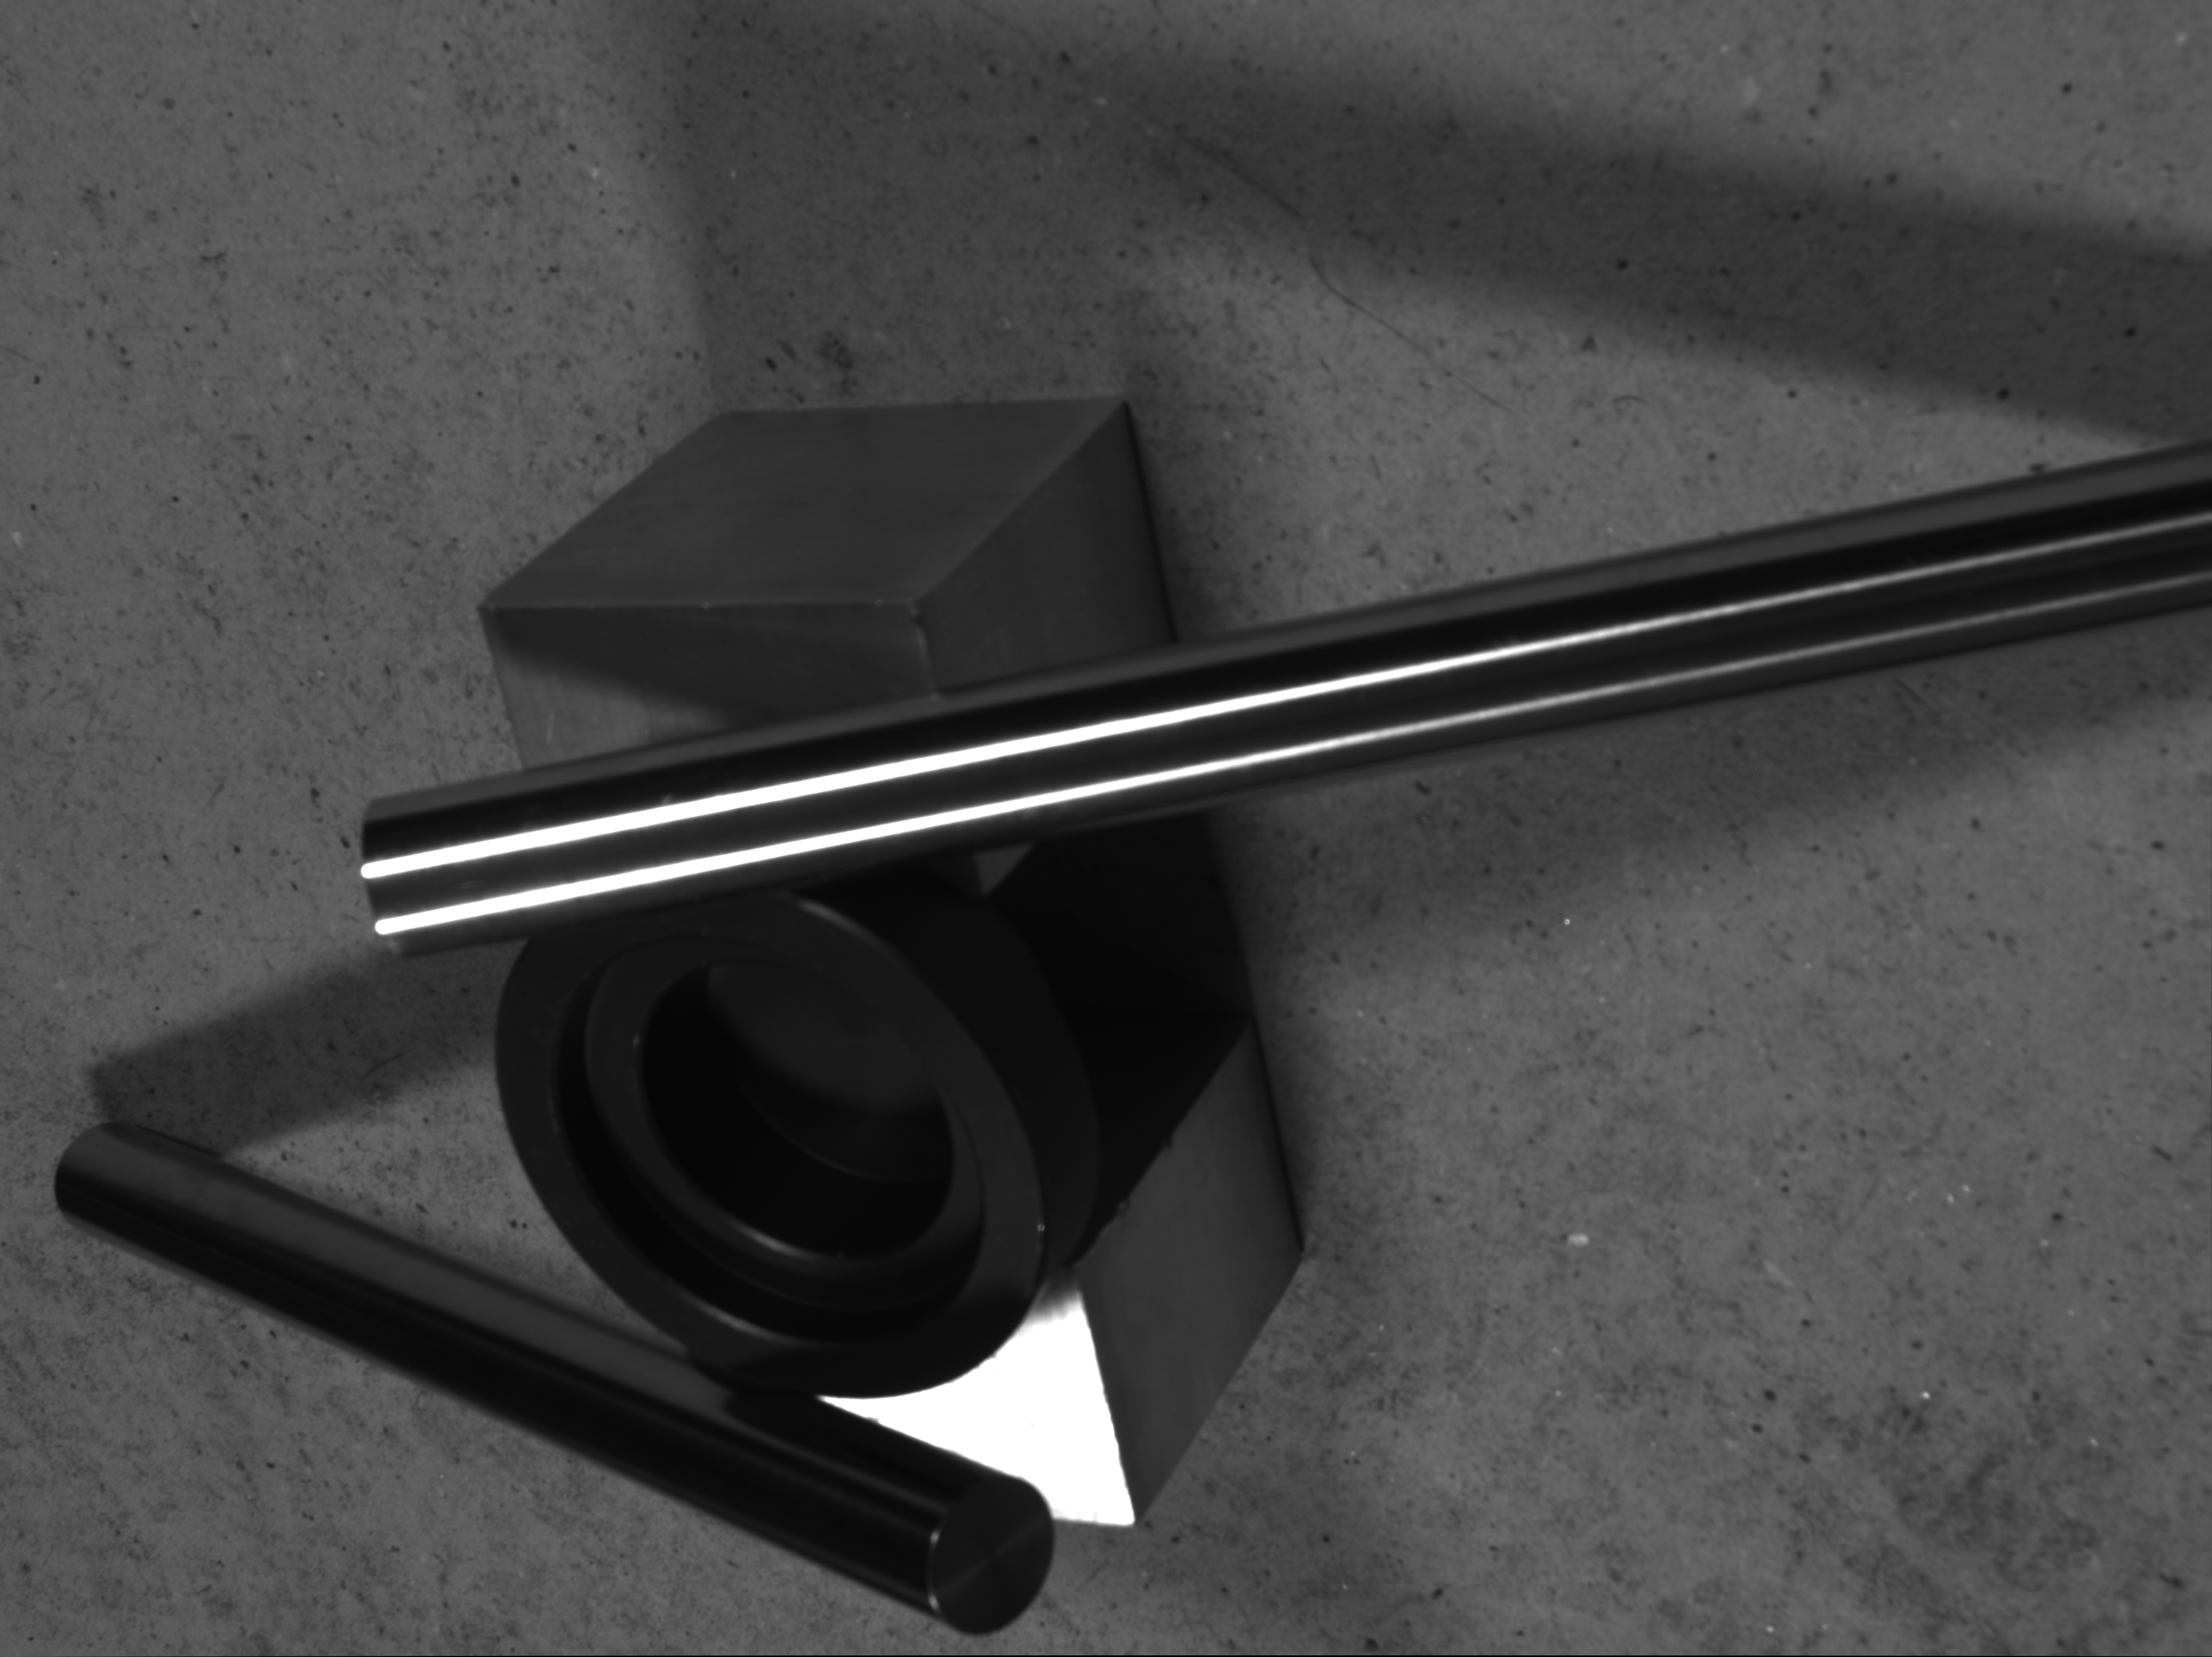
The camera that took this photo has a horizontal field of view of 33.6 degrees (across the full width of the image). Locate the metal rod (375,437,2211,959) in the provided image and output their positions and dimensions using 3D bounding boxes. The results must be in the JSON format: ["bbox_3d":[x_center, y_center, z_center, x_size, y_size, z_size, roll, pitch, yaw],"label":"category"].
[{"bbox_3d":[0.041,-0.021,0.530,0.300,0.025,0.025,-11,115,7],"label":"metal rod"}]

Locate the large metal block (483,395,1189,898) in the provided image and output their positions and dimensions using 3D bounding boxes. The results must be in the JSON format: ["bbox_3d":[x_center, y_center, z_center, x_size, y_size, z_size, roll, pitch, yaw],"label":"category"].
[{"bbox_3d":[-0.041,-0.031,0.598,0.080,0.080,0.050,1,119,26],"label":"large metal block"}]

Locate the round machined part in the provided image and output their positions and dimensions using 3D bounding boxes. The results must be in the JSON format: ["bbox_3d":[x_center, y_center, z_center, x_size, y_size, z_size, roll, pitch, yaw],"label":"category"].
[{"bbox_3d":[-0.043,0.040,0.592,0.098,0.042,0.098,12,123,20],"label":"round machined part"}]

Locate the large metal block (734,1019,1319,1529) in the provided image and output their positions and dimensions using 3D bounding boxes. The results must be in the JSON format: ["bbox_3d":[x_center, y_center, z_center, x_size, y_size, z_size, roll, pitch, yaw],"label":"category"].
[{"bbox_3d":[-0.017,0.076,0.650,0.080,0.080,0.050,1,119,26],"label":"large metal block"}]

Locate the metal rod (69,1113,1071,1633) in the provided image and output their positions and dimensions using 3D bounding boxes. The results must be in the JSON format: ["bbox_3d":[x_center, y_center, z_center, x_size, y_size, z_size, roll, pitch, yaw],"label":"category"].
[{"bbox_3d":[-0.113,0.092,0.672,0.299,0.025,0.025,11,126,48],"label":"metal rod"}]
